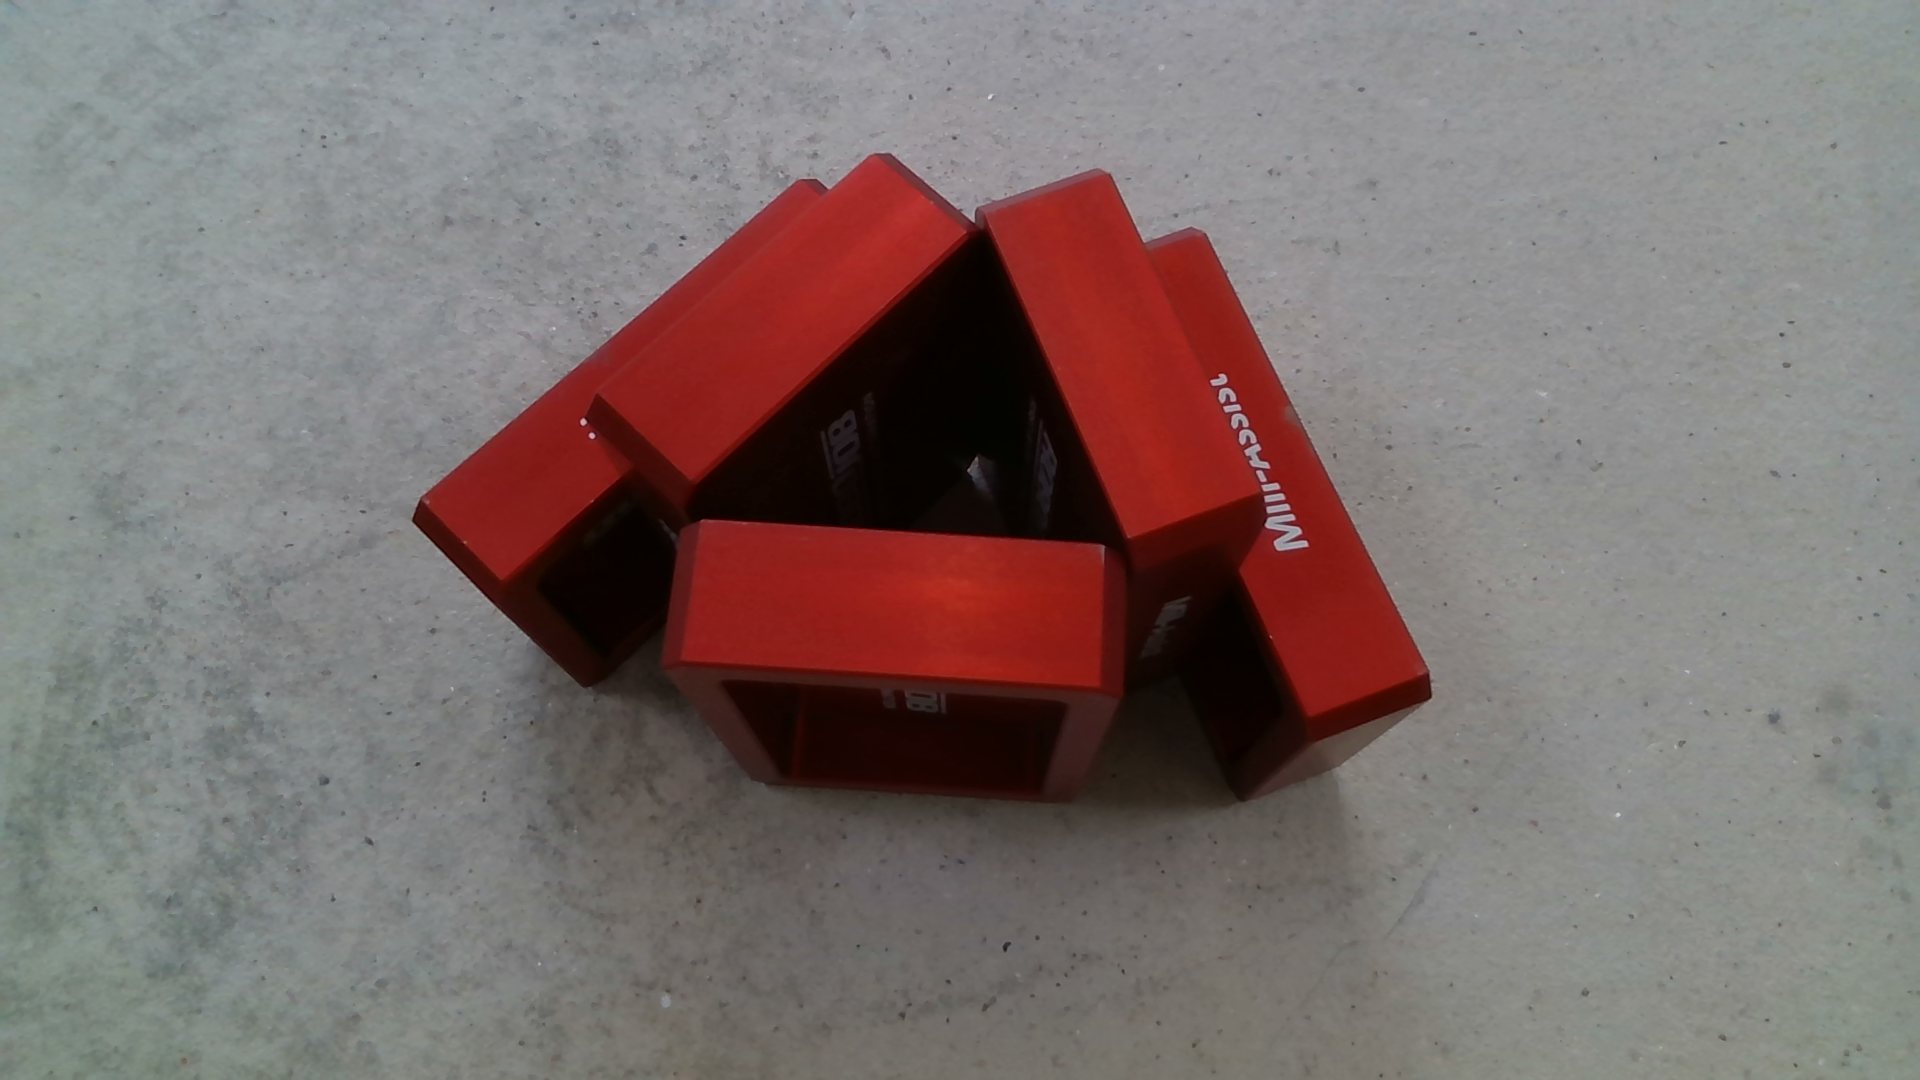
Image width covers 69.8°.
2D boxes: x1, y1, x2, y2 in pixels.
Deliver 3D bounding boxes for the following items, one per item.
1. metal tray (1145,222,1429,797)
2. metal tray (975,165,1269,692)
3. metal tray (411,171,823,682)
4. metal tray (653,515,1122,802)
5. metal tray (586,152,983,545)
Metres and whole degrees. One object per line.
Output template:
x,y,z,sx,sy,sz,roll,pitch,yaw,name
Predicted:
0.068,-0.004,0.362,0.030,0.090,0.130,-19,72,-7,metal tray
0.033,-0.018,0.346,0.030,0.130,0.090,-20,71,-6,metal tray
-0.072,-0.027,0.370,0.030,0.090,0.130,42,76,14,metal tray
-0.013,0.034,0.327,0.090,0.130,0.030,4,70,2,metal tray
-0.036,-0.026,0.349,0.030,0.130,0.090,42,75,13,metal tray
